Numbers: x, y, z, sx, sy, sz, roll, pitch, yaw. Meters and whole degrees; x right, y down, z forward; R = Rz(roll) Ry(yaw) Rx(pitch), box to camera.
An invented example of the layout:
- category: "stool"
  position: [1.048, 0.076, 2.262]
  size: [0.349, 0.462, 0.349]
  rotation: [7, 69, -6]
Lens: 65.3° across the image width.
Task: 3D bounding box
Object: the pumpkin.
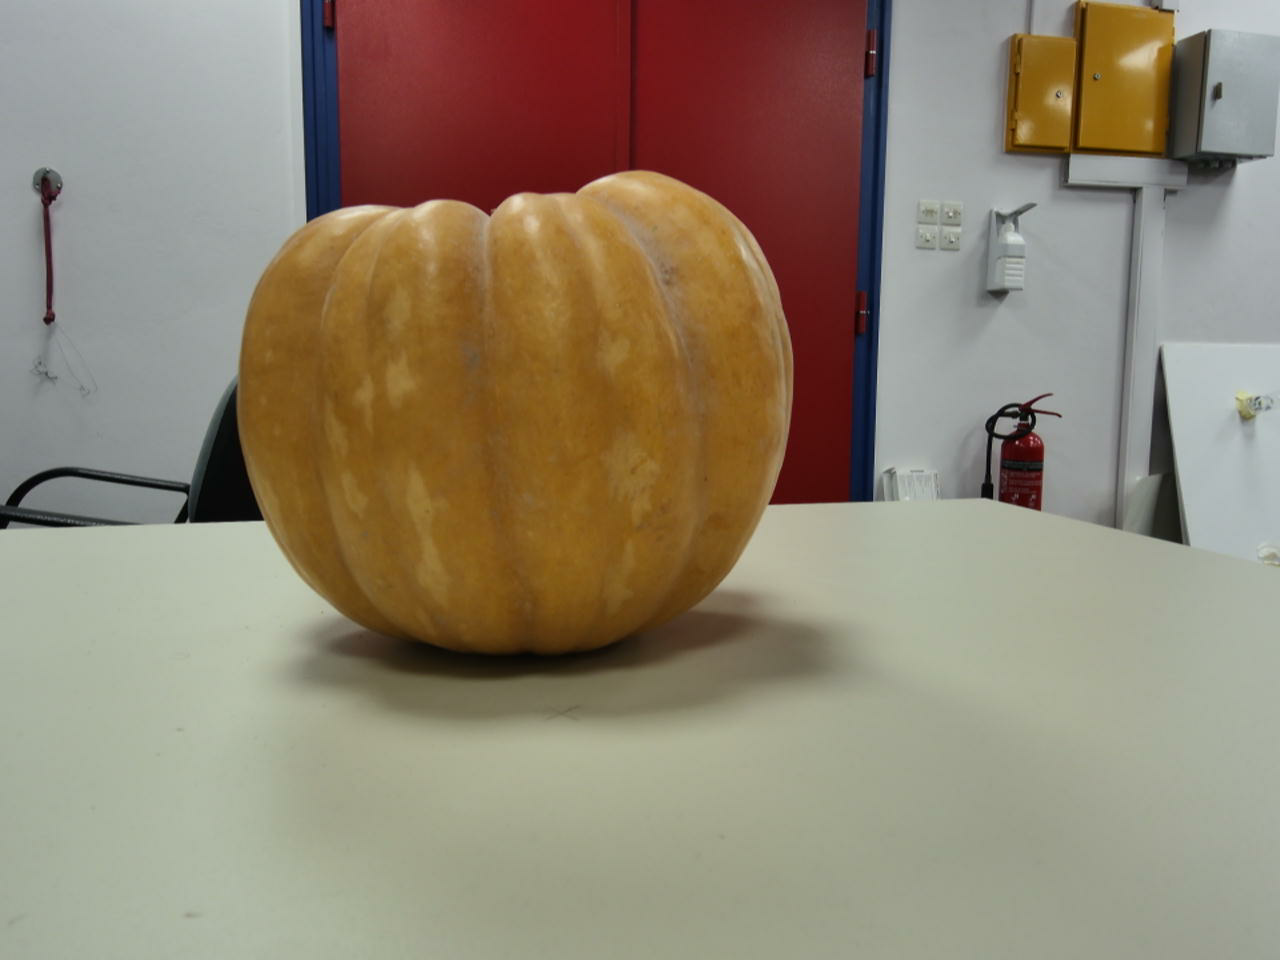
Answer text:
- category: "pumpkin"
  position: [-0.045, -0.028, 0.425]
  size: [0.230, 0.194, 0.230]
  rotation: [0, 4, 0]
